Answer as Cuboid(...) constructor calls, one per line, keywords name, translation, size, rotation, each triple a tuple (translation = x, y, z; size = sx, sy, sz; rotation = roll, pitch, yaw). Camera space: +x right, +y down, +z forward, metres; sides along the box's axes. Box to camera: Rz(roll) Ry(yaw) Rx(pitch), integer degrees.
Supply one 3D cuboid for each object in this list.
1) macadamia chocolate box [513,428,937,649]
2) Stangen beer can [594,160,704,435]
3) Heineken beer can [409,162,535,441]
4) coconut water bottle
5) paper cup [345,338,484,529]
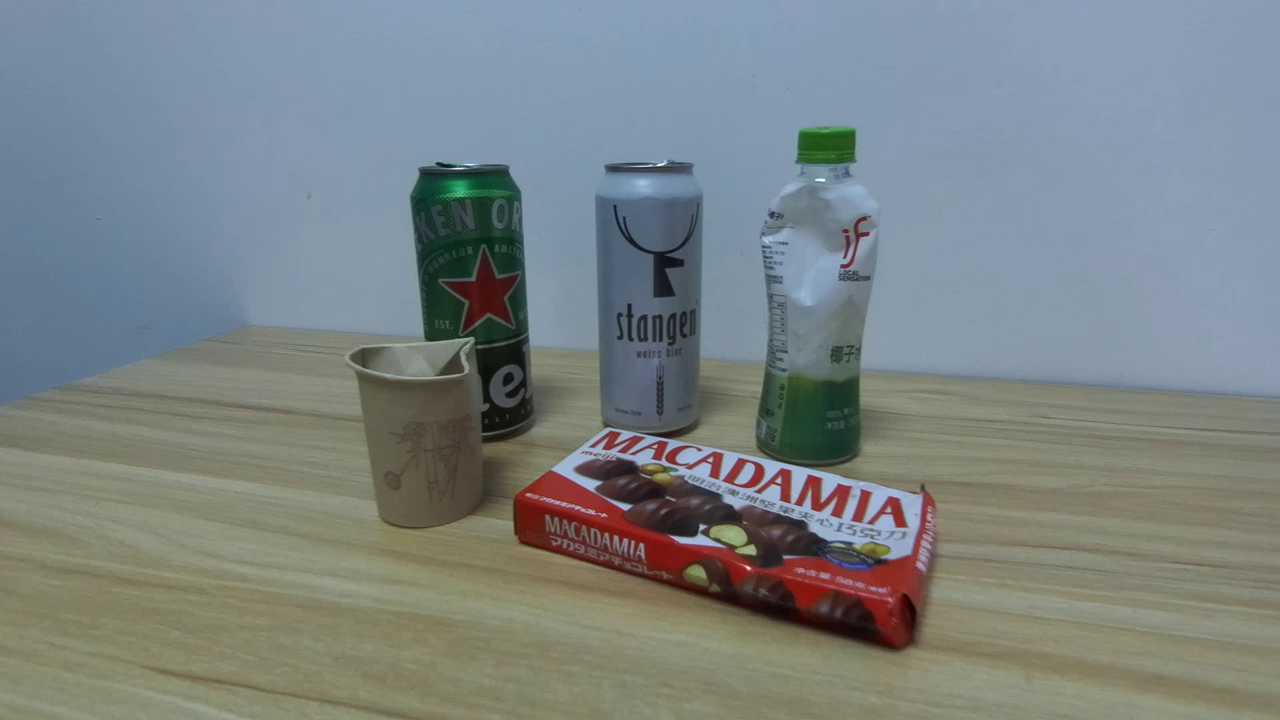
Cuboid(name="macadamia chocolate box", translation=(0.042, 0.075, 0.334), size=(0.182, 0.028, 0.106), rotation=(8, 20, 24))
Cuboid(name="Stangen beer can", translation=(0.006, -0.038, 0.453), size=(0.067, 0.171, 0.067), rotation=(0, 16, 0))
Cuboid(name="Heineken beer can", translation=(-0.106, -0.036, 0.454), size=(0.067, 0.169, 0.067), rotation=(-1, 17, 1))
Cuboid(name="coconut water bottle", translation=(0.103, -0.036, 0.408), size=(0.069, 0.187, 0.069), rotation=(1, 18, 0))
Cuboid(name="paper cup", translation=(-0.114, 0.037, 0.364), size=(0.066, 0.084, 0.071), rotation=(-2, 17, -7))
